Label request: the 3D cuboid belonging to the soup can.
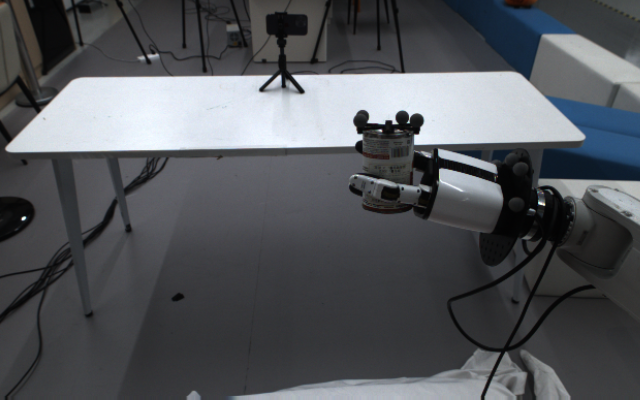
[{"bbox_3d":[0.090,-0.040,0.631,0.067,0.101,0.067,-1,17,0],"label":"soup can"}]
